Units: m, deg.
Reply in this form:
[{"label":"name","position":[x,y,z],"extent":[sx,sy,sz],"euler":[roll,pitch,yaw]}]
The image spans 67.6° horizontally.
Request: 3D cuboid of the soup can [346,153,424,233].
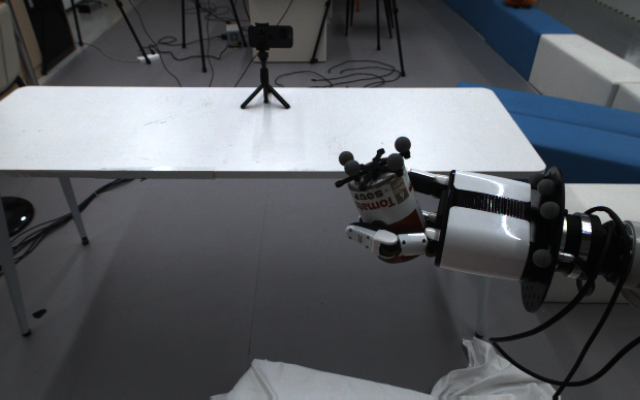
[{"label":"soup can","position":[0.082,0.010,0.551],"extent":[0.067,0.101,0.067],"euler":[-22,24,10]}]
